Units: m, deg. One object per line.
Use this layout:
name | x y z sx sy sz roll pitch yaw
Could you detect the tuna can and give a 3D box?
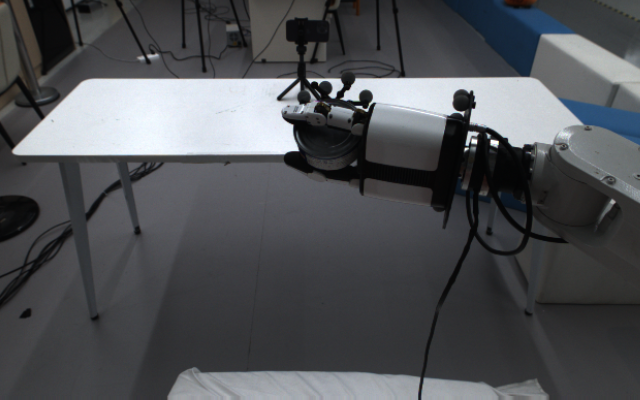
tuna can | 0.013 -0.080 0.593 0.085 0.034 0.085 -4 61 7
